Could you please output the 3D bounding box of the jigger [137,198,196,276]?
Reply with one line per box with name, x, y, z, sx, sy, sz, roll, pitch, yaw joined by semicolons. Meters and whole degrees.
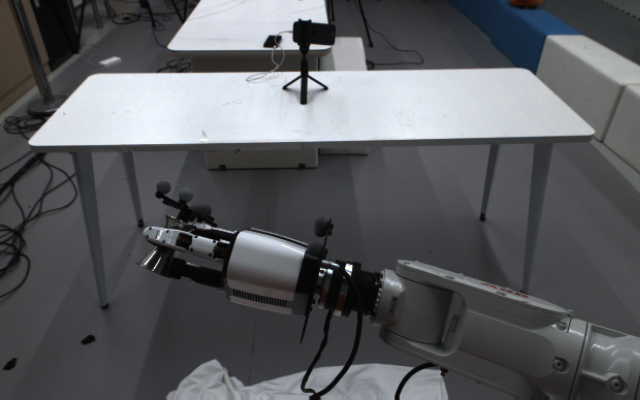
jigger;-0.188;0.056;0.593;0.043;0.043;0.071;20;73;23
